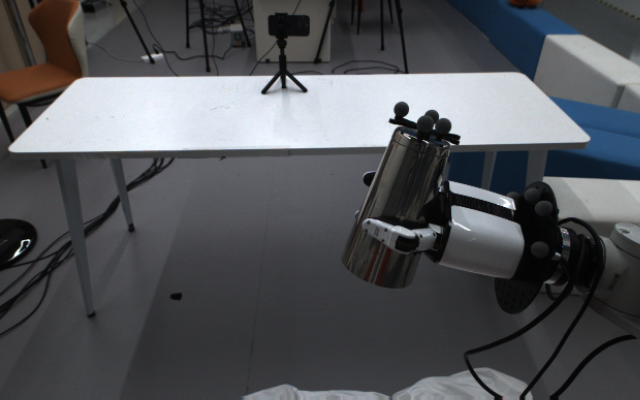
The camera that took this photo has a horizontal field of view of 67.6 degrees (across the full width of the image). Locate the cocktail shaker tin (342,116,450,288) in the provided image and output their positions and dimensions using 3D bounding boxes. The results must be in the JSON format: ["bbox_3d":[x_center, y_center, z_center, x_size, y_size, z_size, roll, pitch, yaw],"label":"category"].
[{"bbox_3d":[0.094,0.006,0.568,0.093,0.170,0.093,14,19,-5],"label":"cocktail shaker tin"}]
